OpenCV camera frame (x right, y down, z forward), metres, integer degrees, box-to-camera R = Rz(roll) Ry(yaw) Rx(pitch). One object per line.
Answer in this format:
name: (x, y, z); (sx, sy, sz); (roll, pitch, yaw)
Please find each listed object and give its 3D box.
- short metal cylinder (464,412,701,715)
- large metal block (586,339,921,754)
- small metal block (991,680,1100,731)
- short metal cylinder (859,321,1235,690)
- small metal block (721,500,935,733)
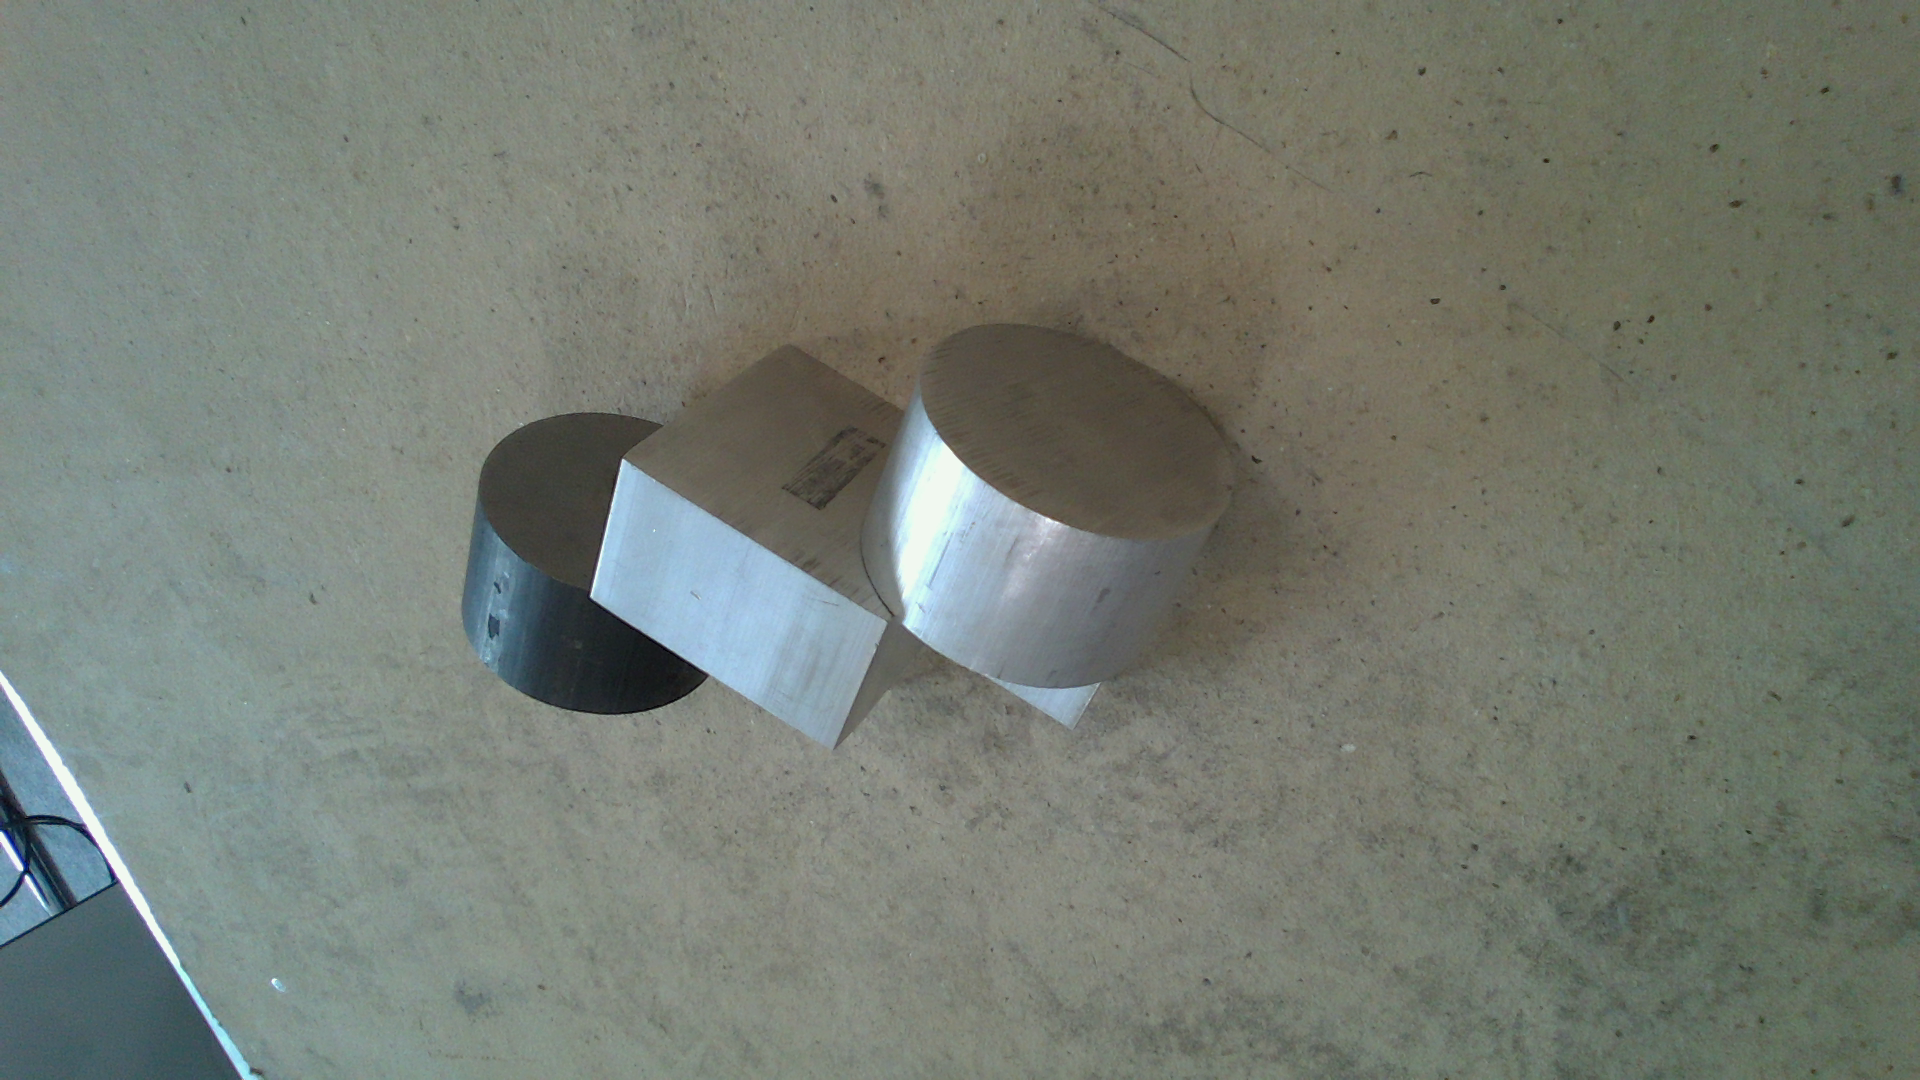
short metal cylinder: (-0.106, 0.006, 0.418); (0.080, 0.080, 0.050); (31, 129, 8)
large metal block: (-0.042, -0.001, 0.380); (0.080, 0.080, 0.050); (31, 128, 8)
small metal block: (0.025, 0.018, 0.392); (0.050, 0.025, 0.050); (31, 129, 8)
short metal cylinder: (0.020, -0.010, 0.341); (0.080, 0.080, 0.050); (31, 129, 8)
small metal block: (-0.042, 0.024, 0.432); (0.050, 0.025, 0.050); (31, 129, 8)
